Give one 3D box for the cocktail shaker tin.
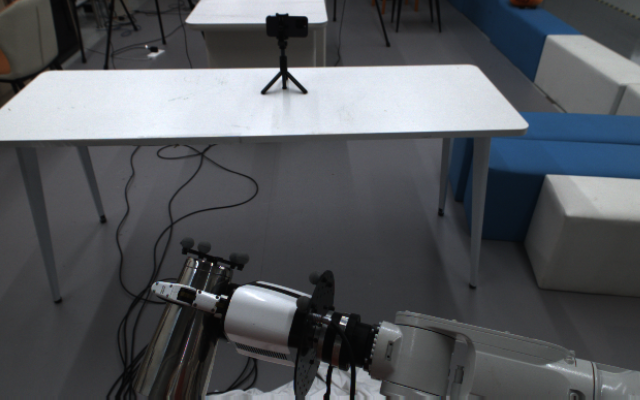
[{"bbox_3d":[-0.167,0.164,0.632,0.093,0.093,0.170,12,77,15],"label":"cocktail shaker tin"}]
